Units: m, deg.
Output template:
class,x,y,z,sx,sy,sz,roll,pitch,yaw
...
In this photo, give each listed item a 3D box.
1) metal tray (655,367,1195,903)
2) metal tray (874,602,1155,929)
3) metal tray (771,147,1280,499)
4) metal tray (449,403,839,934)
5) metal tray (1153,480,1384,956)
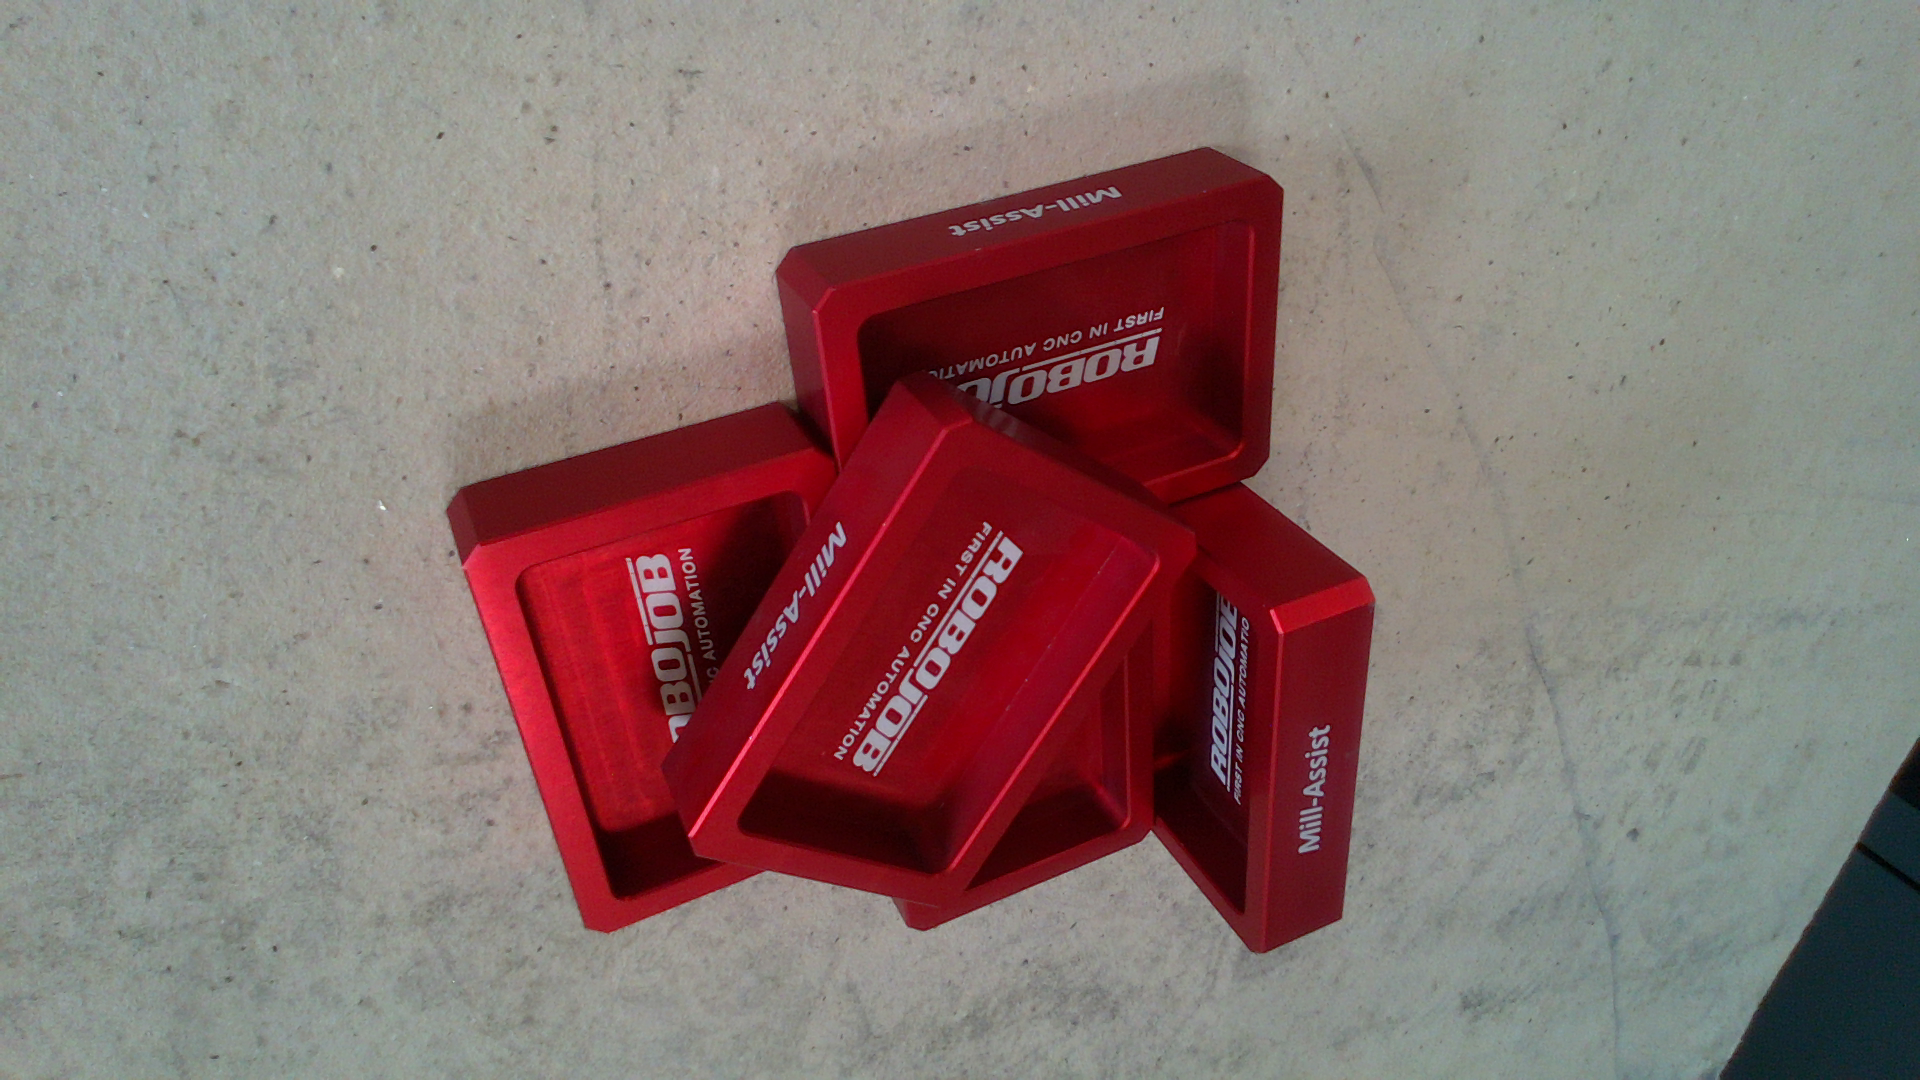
class,x,y,z,sx,sy,sz,roll,pitch,yaw
metal tray,-0.009,0.030,0.363,0.090,0.030,0.130,24,106,-36
metal tray,0.014,0.052,0.424,0.090,0.030,0.130,-17,127,-17
metal tray,0.021,-0.046,0.371,0.130,0.030,0.090,-17,125,-18
metal tray,-0.072,0.037,0.369,0.090,0.030,0.130,-17,125,-18
metal tray,0.082,0.050,0.420,0.030,0.090,0.130,-17,126,-19
